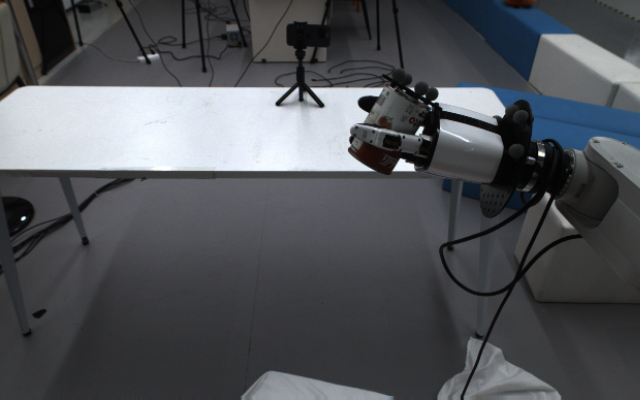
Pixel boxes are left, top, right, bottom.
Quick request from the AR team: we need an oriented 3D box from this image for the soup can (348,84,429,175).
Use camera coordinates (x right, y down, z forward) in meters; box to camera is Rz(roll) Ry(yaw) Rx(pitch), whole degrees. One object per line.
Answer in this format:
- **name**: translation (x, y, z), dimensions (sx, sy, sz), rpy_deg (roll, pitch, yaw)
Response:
- **soup can**: translation (0.091, -0.093, 0.637), dimensions (0.067, 0.101, 0.067), rpy_deg (27, 18, -10)
